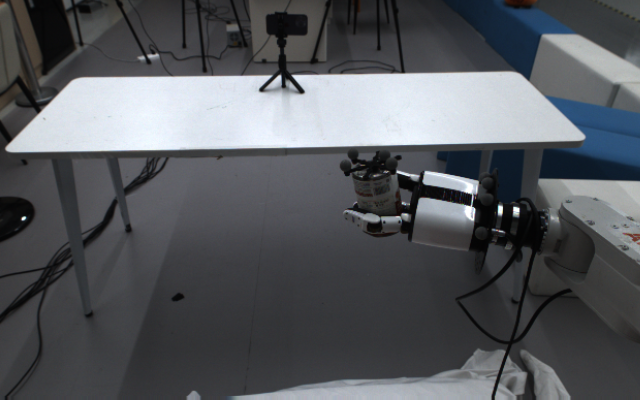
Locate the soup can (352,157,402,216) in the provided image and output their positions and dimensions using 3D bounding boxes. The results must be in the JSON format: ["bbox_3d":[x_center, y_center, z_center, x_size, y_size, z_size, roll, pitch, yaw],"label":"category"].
[{"bbox_3d":[0.091,-0.004,0.735,0.067,0.101,0.067,-11,28,6],"label":"soup can"}]
